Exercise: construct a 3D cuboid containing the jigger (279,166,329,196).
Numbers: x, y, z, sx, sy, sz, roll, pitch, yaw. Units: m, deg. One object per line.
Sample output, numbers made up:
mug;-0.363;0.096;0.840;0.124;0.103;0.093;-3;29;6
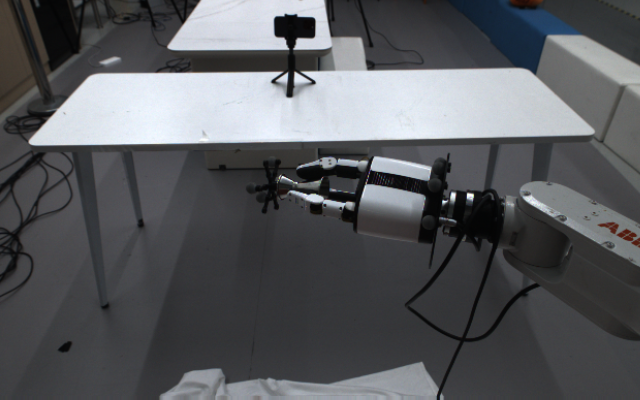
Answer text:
jigger;-0.017;-0.023;0.706;0.071;0.043;0.043;5;34;20
